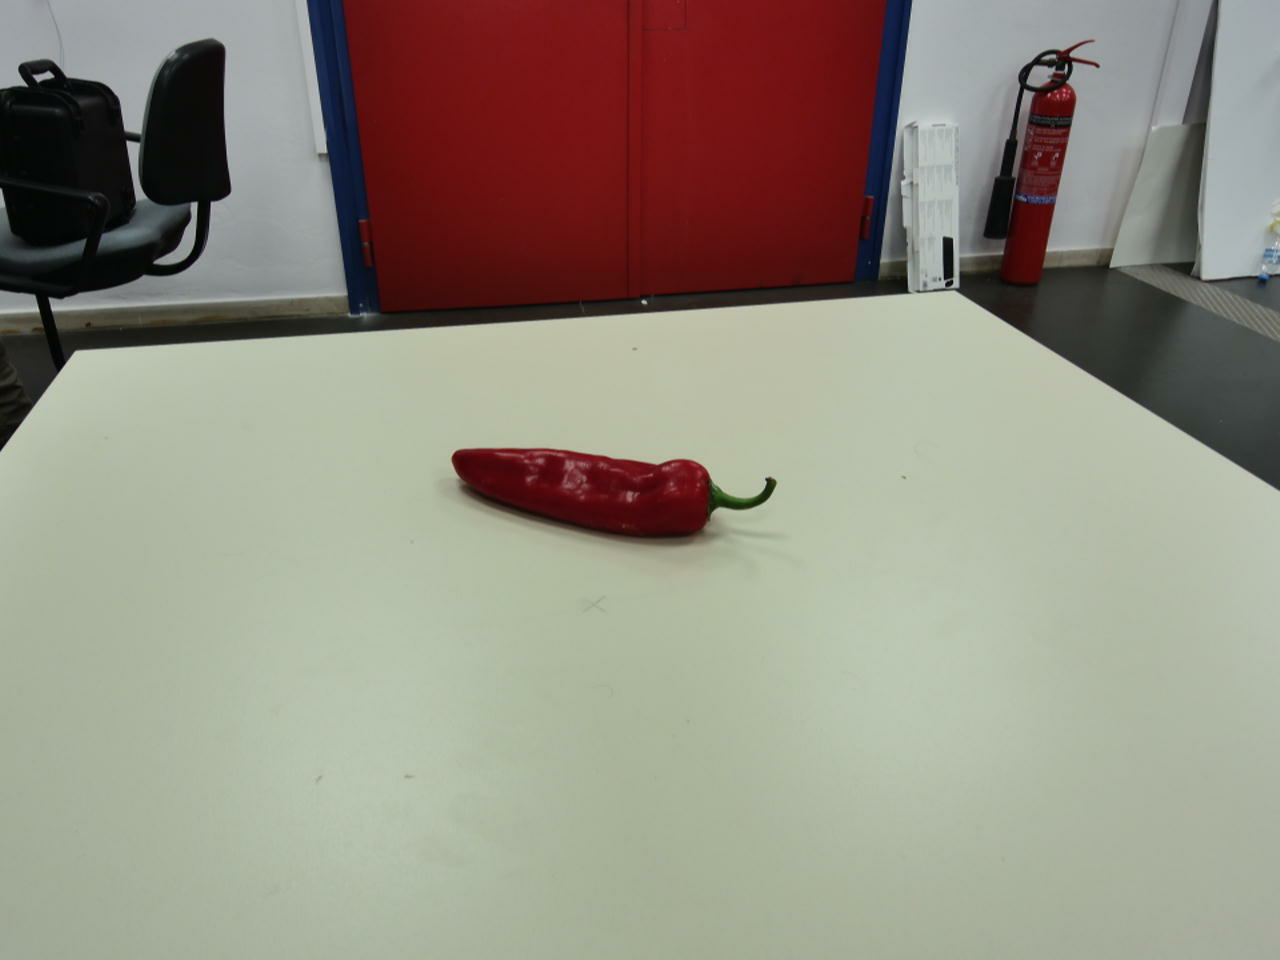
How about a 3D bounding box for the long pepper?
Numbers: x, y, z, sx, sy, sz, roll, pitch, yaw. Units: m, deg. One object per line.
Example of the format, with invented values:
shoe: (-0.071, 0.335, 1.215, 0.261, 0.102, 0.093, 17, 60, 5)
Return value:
long pepper: (-0.024, 0.003, 0.599, 0.211, 0.043, 0.050, 9, 28, 17)
